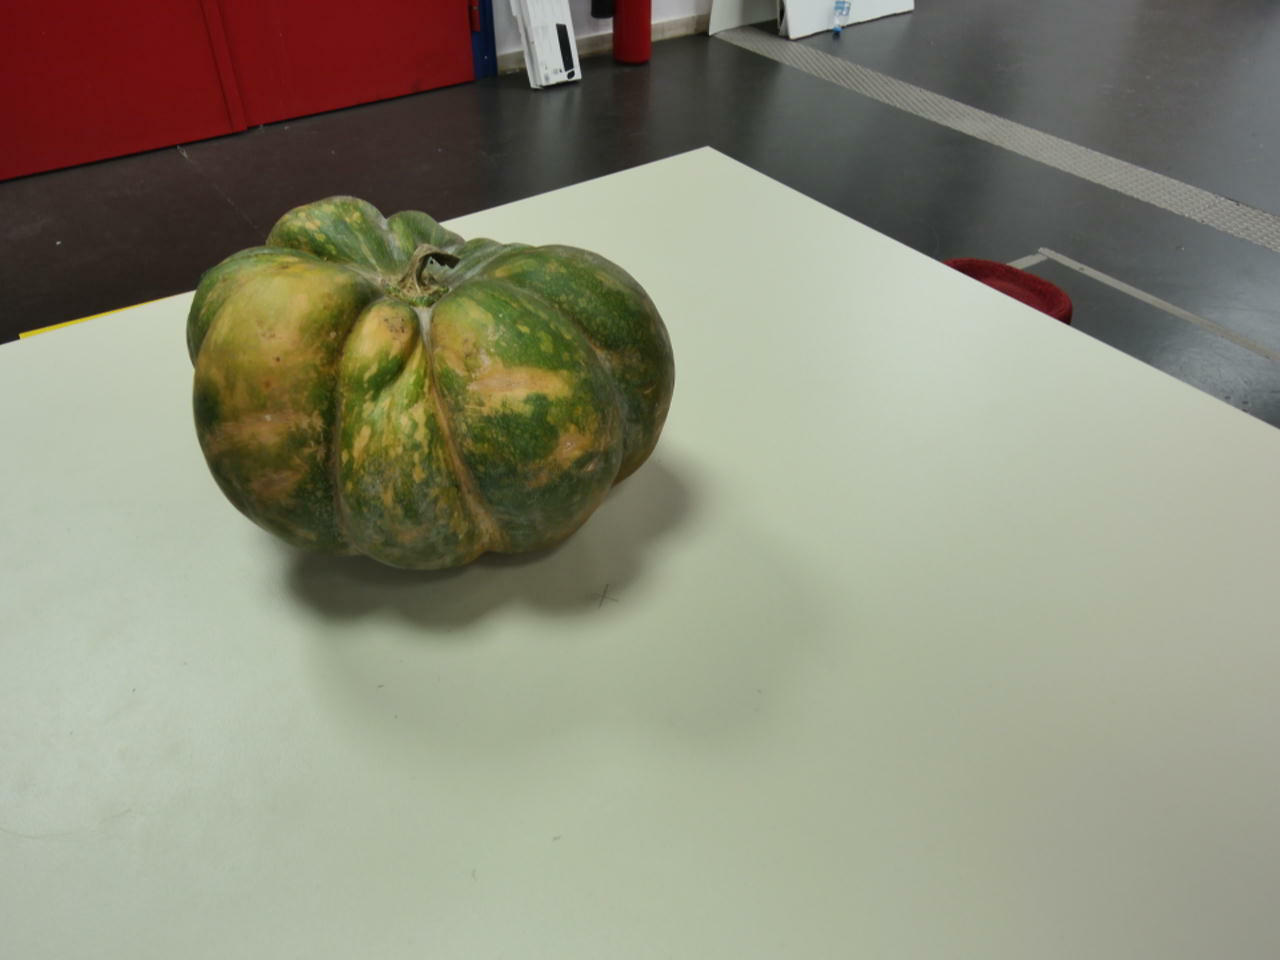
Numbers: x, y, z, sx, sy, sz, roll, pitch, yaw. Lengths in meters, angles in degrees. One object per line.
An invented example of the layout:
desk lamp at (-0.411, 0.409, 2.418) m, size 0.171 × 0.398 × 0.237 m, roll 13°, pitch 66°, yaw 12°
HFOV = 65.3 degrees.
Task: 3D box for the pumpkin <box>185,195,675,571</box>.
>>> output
pumpkin at (-0.118, -0.060, 0.547) m, size 0.270 × 0.173 × 0.237 m, roll 0°, pitch 38°, yaw 0°
